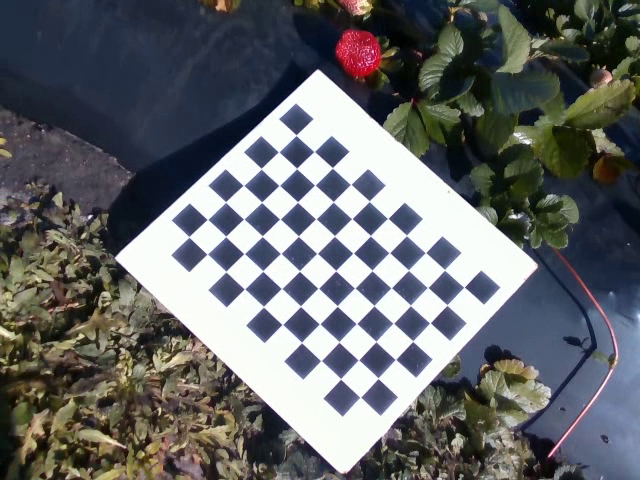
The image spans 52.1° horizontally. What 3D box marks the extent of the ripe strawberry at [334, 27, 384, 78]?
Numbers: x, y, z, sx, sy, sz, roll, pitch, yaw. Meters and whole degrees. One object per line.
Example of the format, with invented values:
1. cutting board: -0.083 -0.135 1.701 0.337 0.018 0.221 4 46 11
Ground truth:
1. ripe strawberry: 0.029 -0.193 0.650 0.058 0.066 0.061 -9 -12 23
